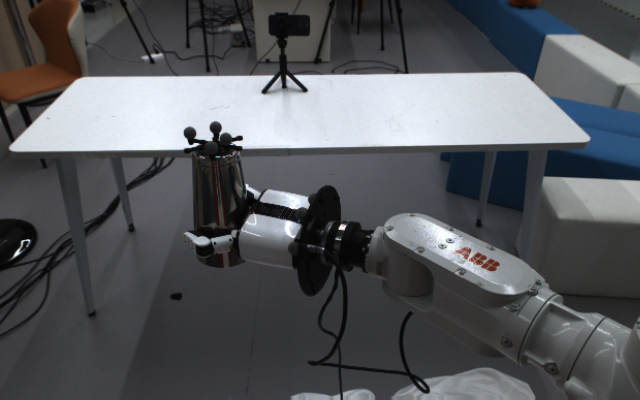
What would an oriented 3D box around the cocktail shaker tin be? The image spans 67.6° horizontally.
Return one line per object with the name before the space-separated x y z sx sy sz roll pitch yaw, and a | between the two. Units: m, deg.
cocktail shaker tin | -0.147 0.004 0.718 0.093 0.170 0.093 0 28 0
